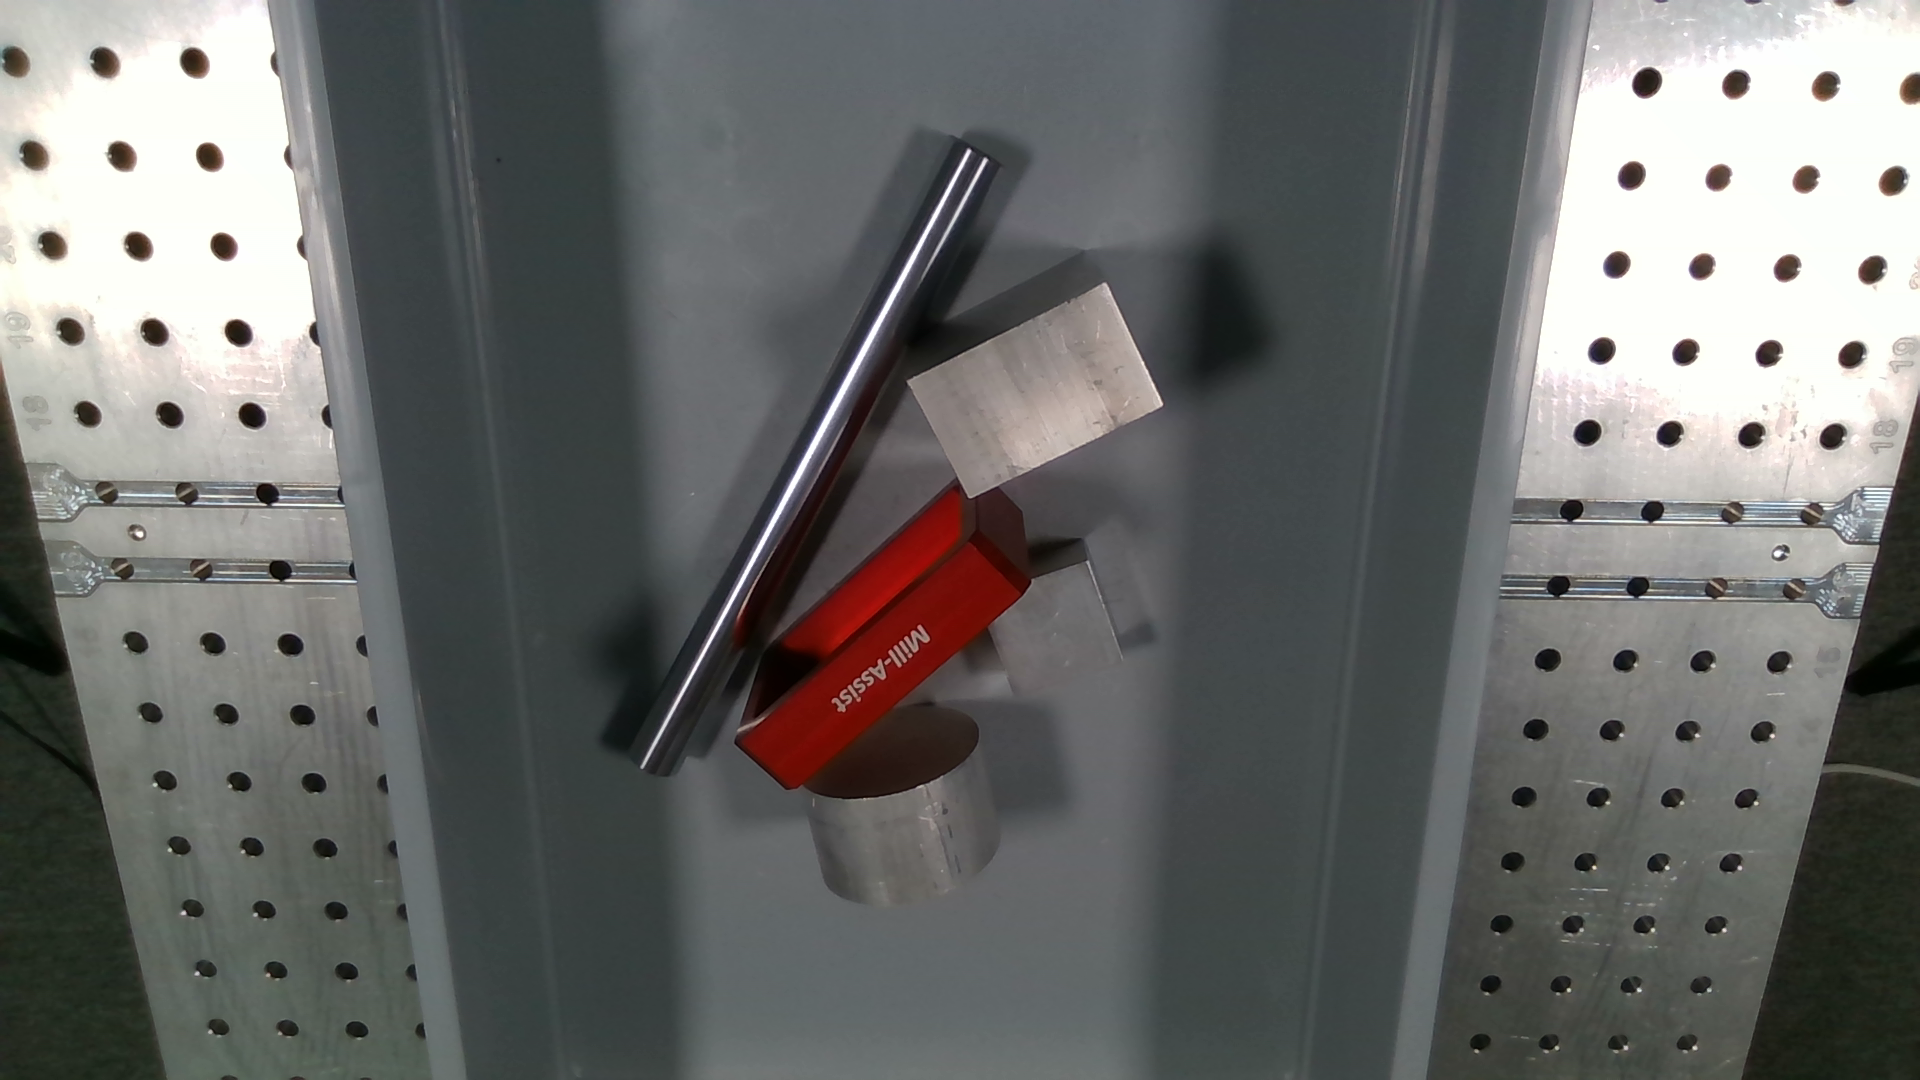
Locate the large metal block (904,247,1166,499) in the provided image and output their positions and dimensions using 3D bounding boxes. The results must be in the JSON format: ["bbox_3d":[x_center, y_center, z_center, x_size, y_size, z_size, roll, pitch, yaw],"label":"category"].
[{"bbox_3d":[0.027,-0.066,0.530,0.080,0.080,0.050,-25,108,9],"label":"large metal block"}]

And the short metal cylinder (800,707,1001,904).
[{"bbox_3d":[-0.026,0.113,0.596,0.080,0.080,0.050,-11,109,4],"label":"short metal cylinder"}]

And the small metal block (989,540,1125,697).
[{"bbox_3d":[0.038,0.033,0.595,0.050,0.025,0.050,-19,109,7],"label":"small metal block"}]

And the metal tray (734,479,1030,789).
[{"bbox_3d":[-0.031,0.033,0.560,0.130,0.090,0.030,-42,105,14],"label":"metal tray"}]

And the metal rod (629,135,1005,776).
[{"bbox_3d":[-0.065,-0.026,0.574,0.025,0.025,0.300,27,108,-9],"label":"metal rod"}]
